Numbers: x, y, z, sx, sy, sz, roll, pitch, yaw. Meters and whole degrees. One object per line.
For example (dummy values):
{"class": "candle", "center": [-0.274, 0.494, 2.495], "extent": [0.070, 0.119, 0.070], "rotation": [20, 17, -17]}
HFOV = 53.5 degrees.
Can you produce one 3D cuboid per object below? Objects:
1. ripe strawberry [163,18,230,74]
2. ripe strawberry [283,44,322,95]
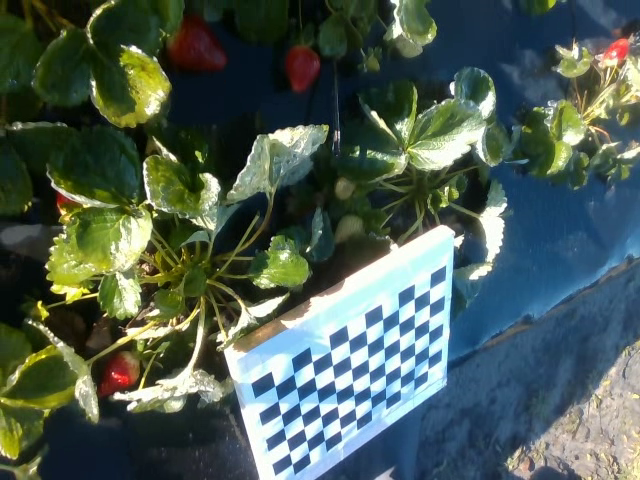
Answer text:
{"class": "ripe strawberry", "center": [-0.095, -0.153, 0.507], "extent": [0.056, 0.044, 0.040], "rotation": [28, 2, -46]}
{"class": "ripe strawberry", "center": [-0.015, -0.151, 0.558], "extent": [0.039, 0.047, 0.040], "rotation": [13, 2, -44]}
